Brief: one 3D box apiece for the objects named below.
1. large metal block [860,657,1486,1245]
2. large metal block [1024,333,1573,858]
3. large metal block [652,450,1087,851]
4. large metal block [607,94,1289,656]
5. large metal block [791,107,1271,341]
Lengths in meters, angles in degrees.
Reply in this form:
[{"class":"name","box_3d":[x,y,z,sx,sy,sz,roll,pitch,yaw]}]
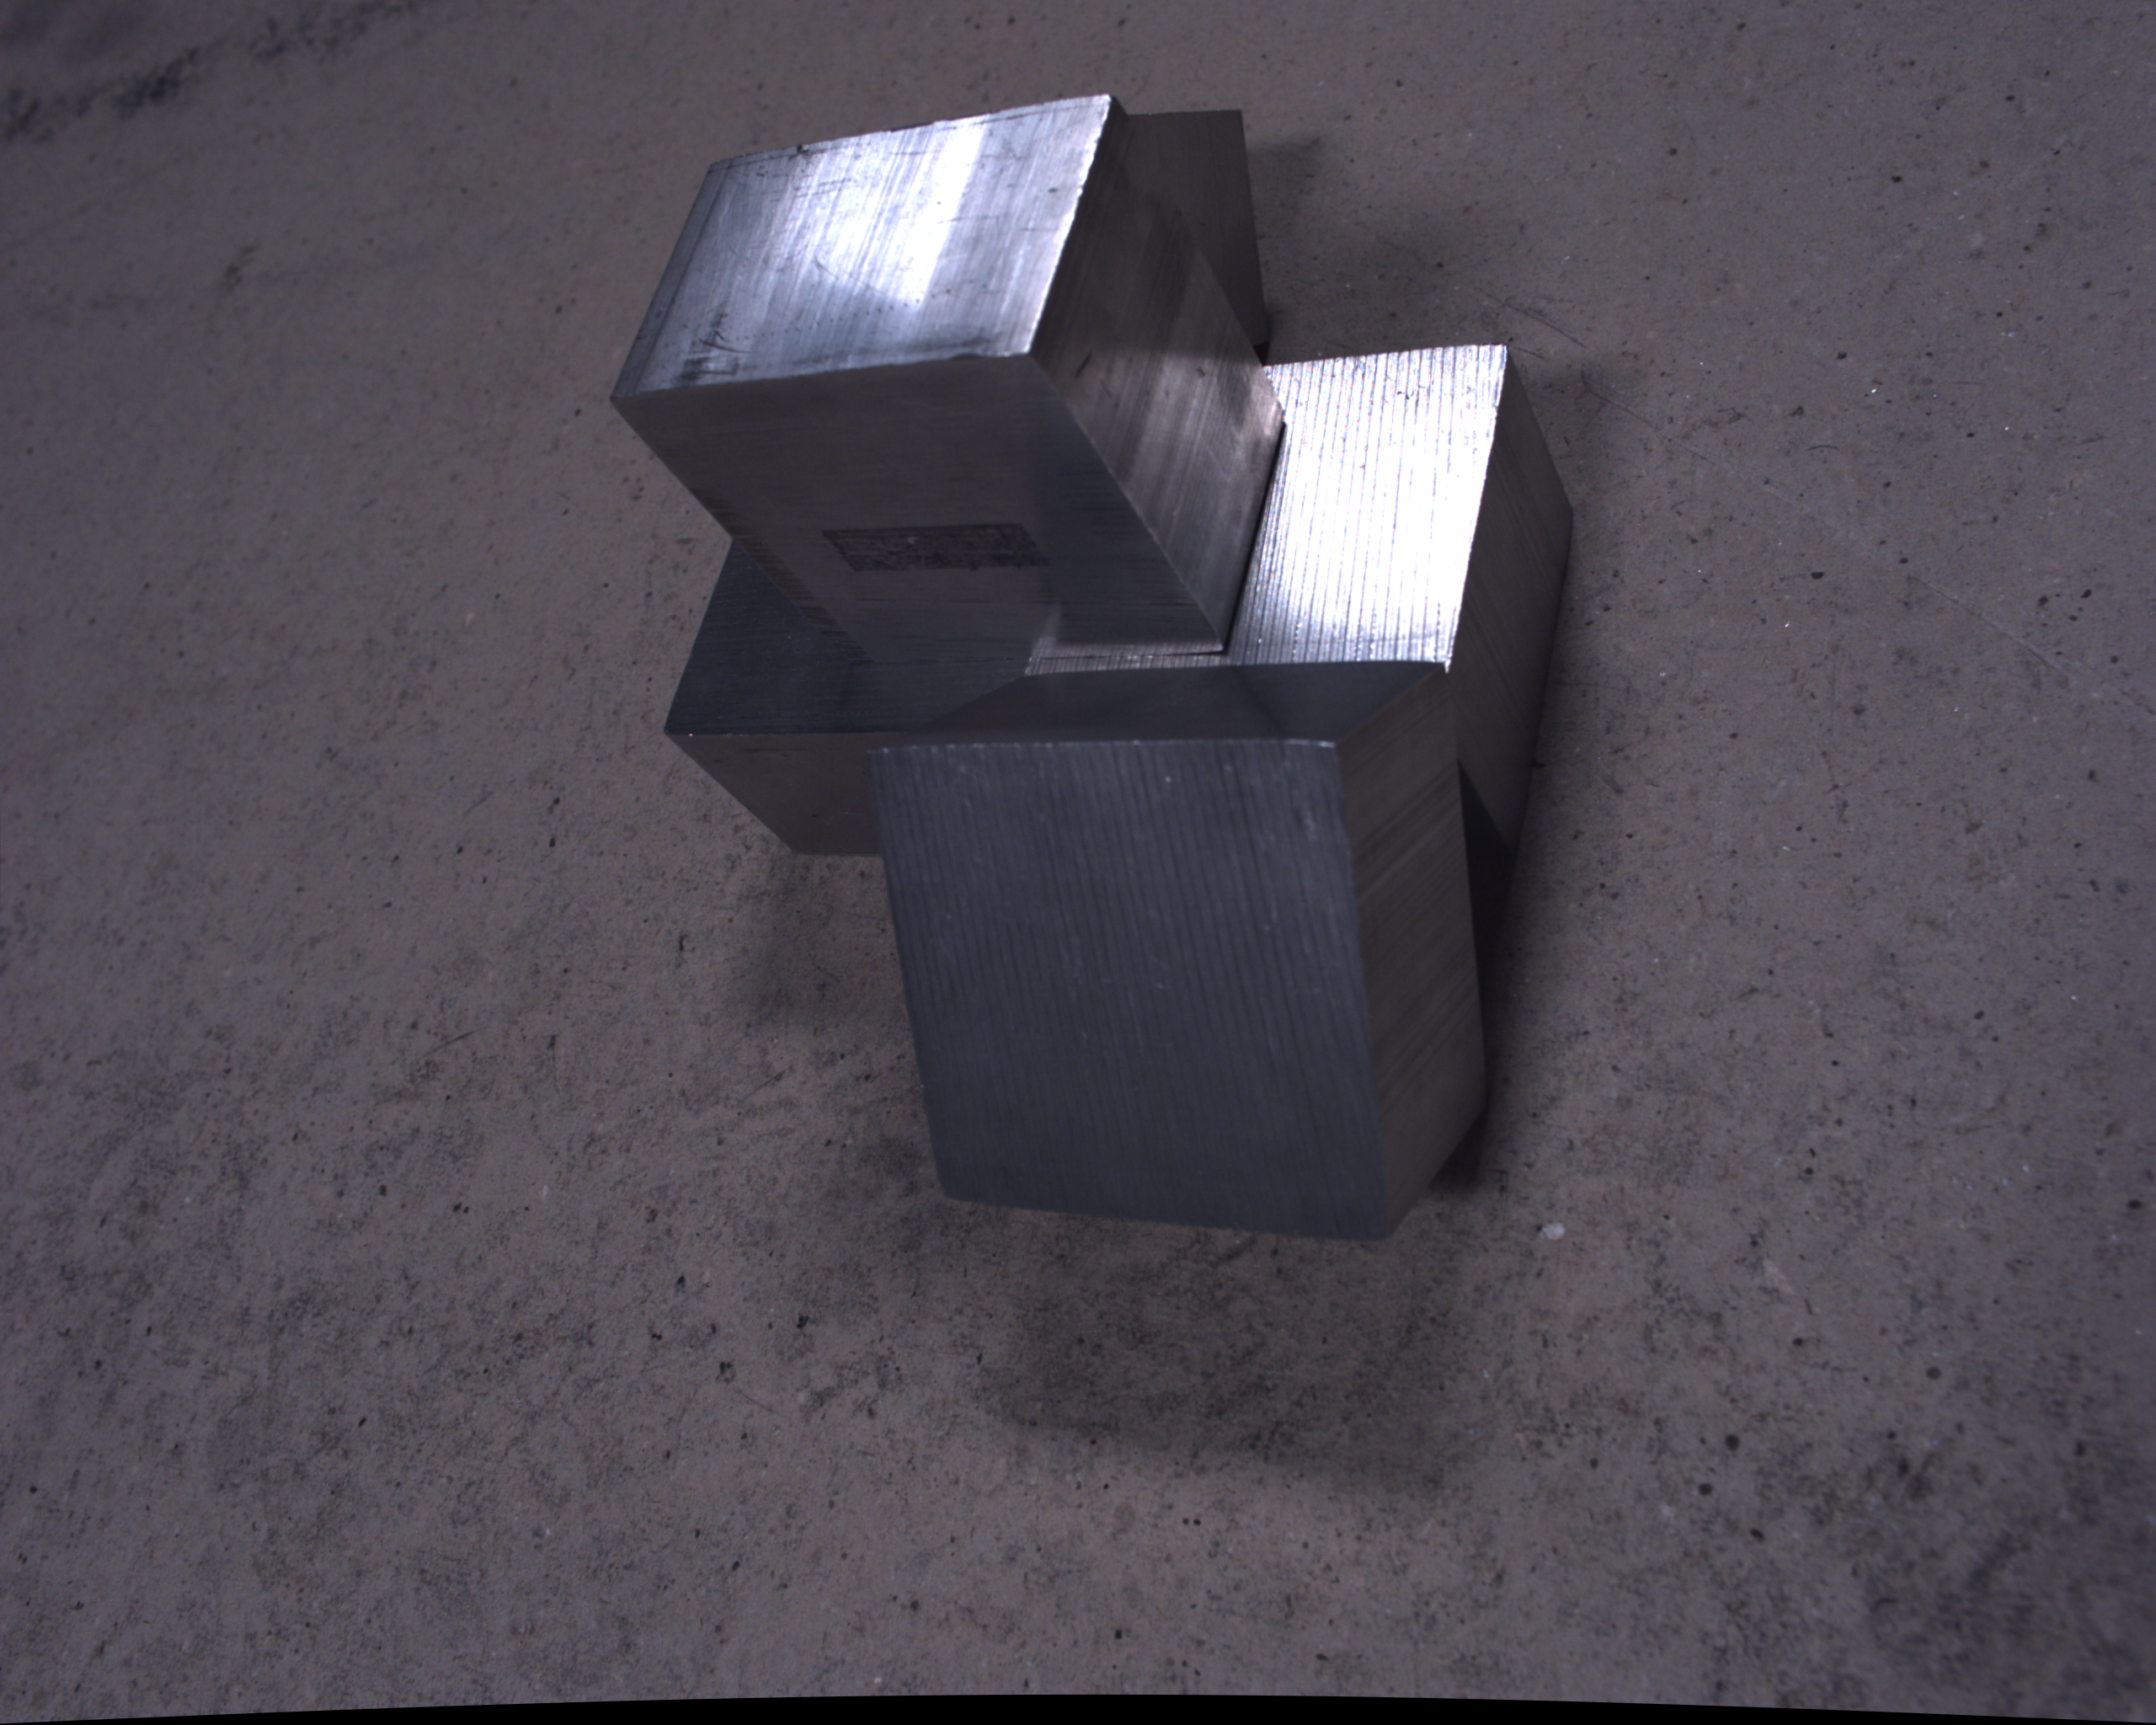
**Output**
[{"class":"large metal block","box_3d":[0.018,0.012,0.344,0.080,0.079,0.050,1,18,28]},{"class":"large metal block","box_3d":[0.042,-0.048,0.394,0.080,0.050,0.080,1,62,28]},{"class":"large metal block","box_3d":[-0.029,-0.049,0.431,0.080,0.050,0.080,1,62,28]},{"class":"large metal block","box_3d":[-0.019,-0.080,0.364,0.080,0.080,0.050,1,63,28]},{"class":"large metal block","box_3d":[-0.014,-0.130,0.448,0.080,0.050,0.080,0,18,28]}]
